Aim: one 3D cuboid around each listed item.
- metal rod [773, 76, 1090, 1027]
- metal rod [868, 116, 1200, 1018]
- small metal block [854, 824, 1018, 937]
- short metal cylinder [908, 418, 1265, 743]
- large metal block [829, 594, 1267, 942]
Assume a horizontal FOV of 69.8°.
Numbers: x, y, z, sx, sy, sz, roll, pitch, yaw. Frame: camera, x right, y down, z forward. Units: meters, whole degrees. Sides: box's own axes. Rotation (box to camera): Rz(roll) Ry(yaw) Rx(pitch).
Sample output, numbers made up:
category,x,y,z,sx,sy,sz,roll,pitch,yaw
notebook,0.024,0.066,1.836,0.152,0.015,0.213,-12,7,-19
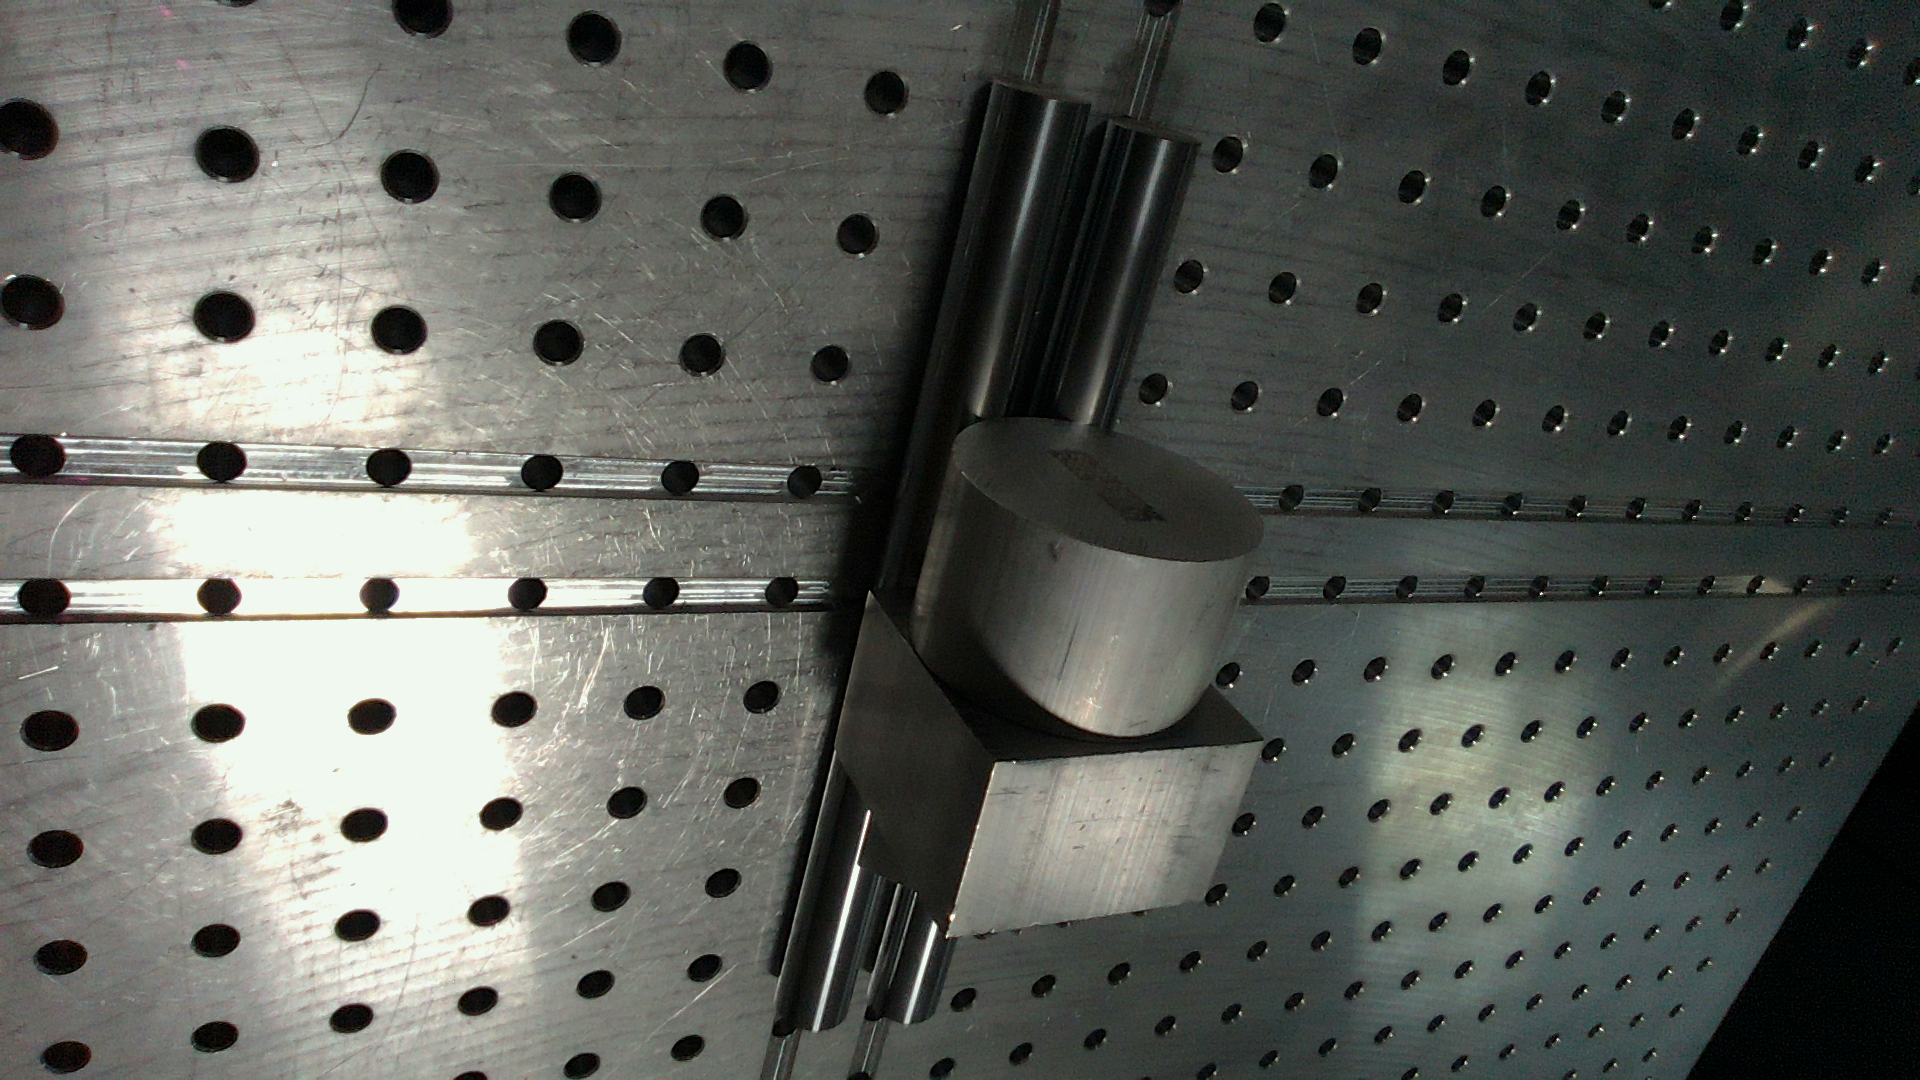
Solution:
category,x,y,z,sx,sy,sz,roll,pitch,yaw
metal rod,-0.015,0.021,0.399,0.025,0.025,0.300,1,118,-29
metal rod,0.015,0.025,0.417,0.025,0.025,0.300,1,118,-29
small metal block,0.004,0.081,0.399,0.050,0.050,0.025,-45,153,-62
short metal cylinder,0.031,0.008,0.351,0.080,0.080,0.050,1,118,-29
large metal block,0.020,0.056,0.370,0.080,0.080,0.050,0,118,-28
